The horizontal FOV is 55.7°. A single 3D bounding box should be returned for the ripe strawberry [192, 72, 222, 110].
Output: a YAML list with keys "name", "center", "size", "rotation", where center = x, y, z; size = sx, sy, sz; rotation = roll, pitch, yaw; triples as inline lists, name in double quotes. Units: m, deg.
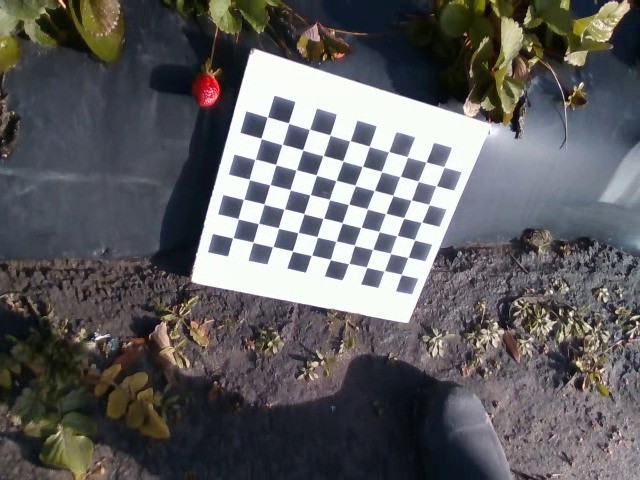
- name: "ripe strawberry"
  center: [-0.107, -0.132, 0.535]
  size: [0.034, 0.038, 0.033]
  rotation: [11, -32, -15]
